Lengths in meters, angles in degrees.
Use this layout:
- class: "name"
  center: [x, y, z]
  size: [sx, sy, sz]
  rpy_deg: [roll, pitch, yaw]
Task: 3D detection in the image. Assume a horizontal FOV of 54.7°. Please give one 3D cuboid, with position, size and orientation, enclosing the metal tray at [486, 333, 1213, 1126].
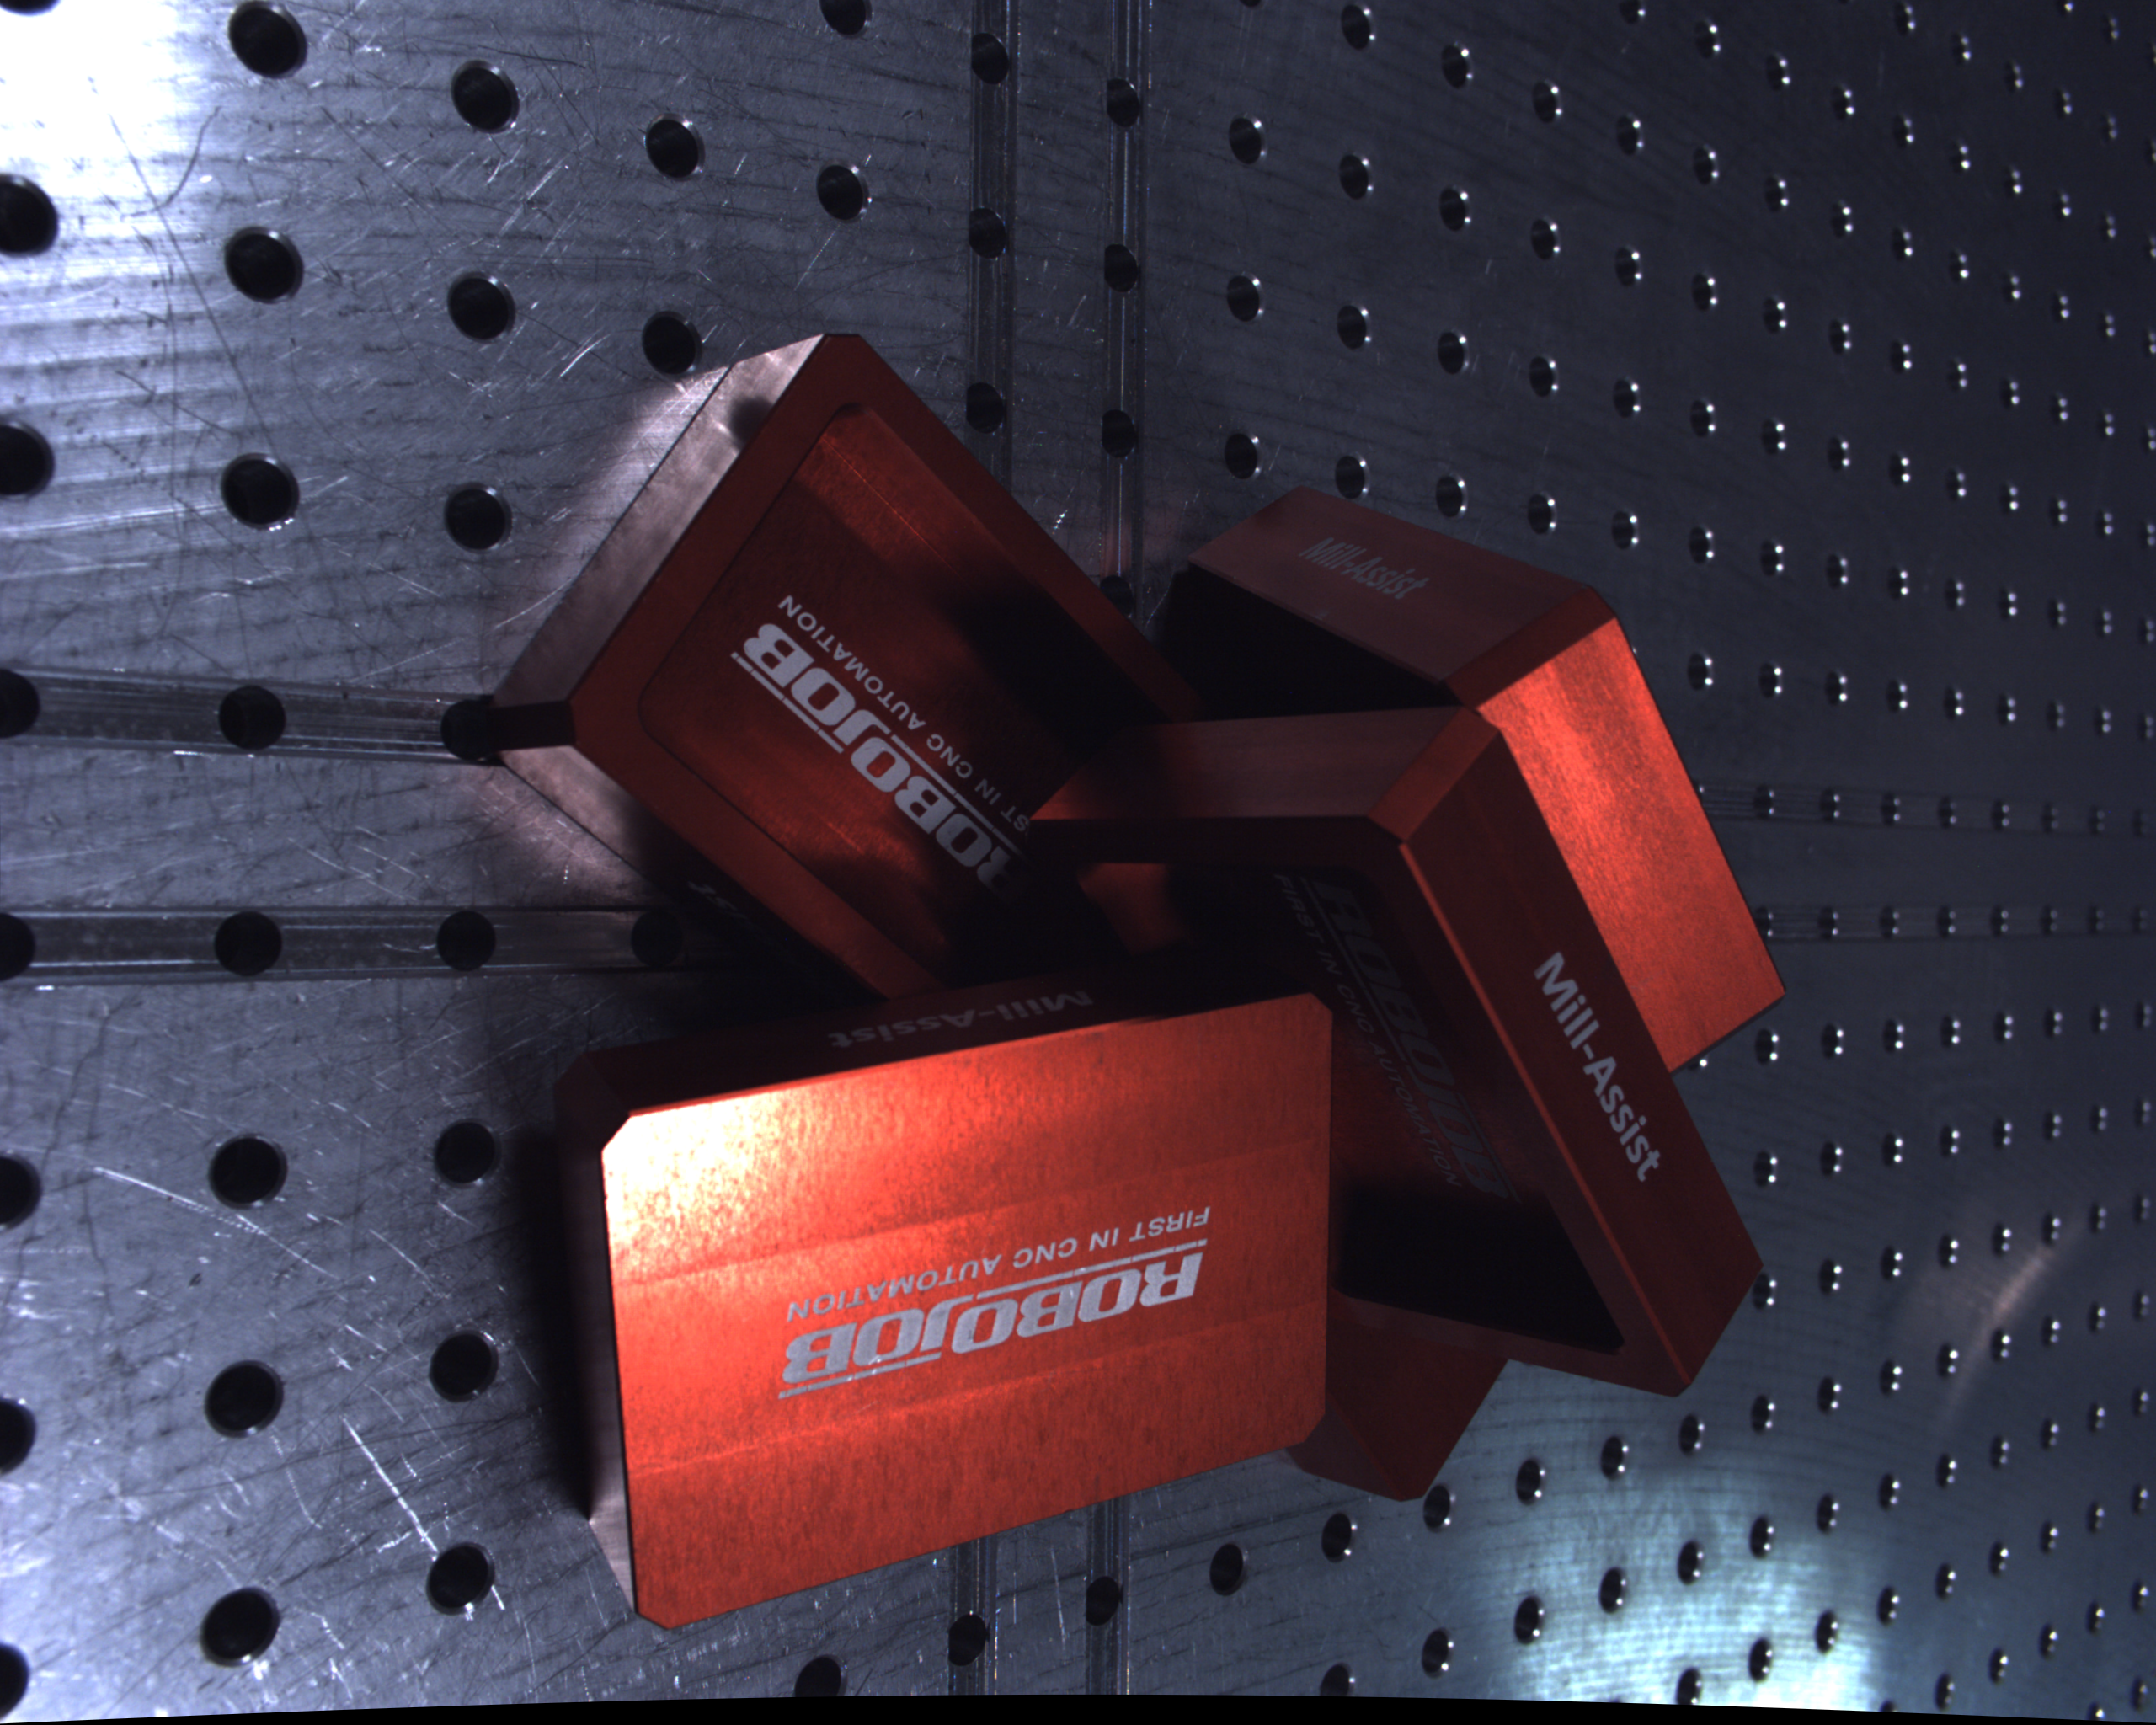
- class: "metal tray"
  center: [-0.030, -0.020, 0.382]
  size: [0.130, 0.030, 0.090]
  rpy_deg: [43, 64, -32]

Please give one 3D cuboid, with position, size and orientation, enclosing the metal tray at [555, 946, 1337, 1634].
- class: "metal tray"
  center: [-0.018, 0.070, 0.361]
  size: [0.131, 0.030, 0.089]
  rpy_deg: [-8, 106, -25]

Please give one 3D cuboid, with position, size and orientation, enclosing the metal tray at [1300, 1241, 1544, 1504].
- class: "metal tray"
  center: [0.079, 0.065, 0.473]
  size: [0.130, 0.030, 0.090]
  rpy_deg: [-49, 119, -29]

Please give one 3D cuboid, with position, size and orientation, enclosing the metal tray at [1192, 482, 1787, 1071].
- class: "metal tray"
  center: [0.075, -0.021, 0.406]
  size: [0.030, 0.130, 0.090]
  rpy_deg: [-33, 114, -5]

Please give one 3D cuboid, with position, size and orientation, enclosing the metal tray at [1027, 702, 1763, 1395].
- class: "metal tray"
  center: [0.057, 0.034, 0.377]
  size: [0.030, 0.090, 0.130]
  rpy_deg: [-46, 118, -30]
